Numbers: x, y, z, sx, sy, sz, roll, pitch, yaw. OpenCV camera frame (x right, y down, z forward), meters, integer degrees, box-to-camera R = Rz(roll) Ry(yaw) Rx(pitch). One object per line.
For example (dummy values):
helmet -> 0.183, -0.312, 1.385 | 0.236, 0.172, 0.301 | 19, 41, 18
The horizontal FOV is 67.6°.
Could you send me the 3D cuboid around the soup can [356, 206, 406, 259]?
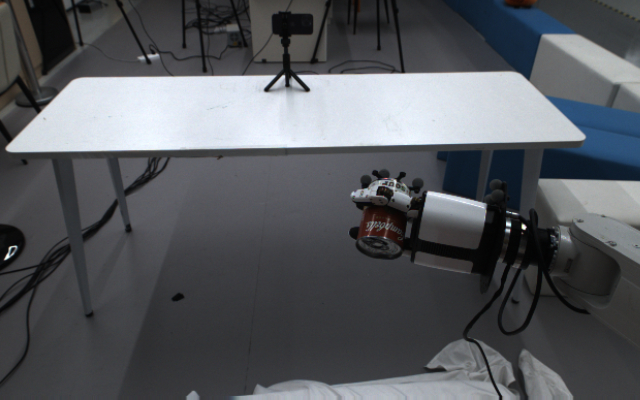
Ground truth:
soup can -> 0.095, 0.026, 0.705 | 0.067, 0.067, 0.101 | 9, 58, 10
